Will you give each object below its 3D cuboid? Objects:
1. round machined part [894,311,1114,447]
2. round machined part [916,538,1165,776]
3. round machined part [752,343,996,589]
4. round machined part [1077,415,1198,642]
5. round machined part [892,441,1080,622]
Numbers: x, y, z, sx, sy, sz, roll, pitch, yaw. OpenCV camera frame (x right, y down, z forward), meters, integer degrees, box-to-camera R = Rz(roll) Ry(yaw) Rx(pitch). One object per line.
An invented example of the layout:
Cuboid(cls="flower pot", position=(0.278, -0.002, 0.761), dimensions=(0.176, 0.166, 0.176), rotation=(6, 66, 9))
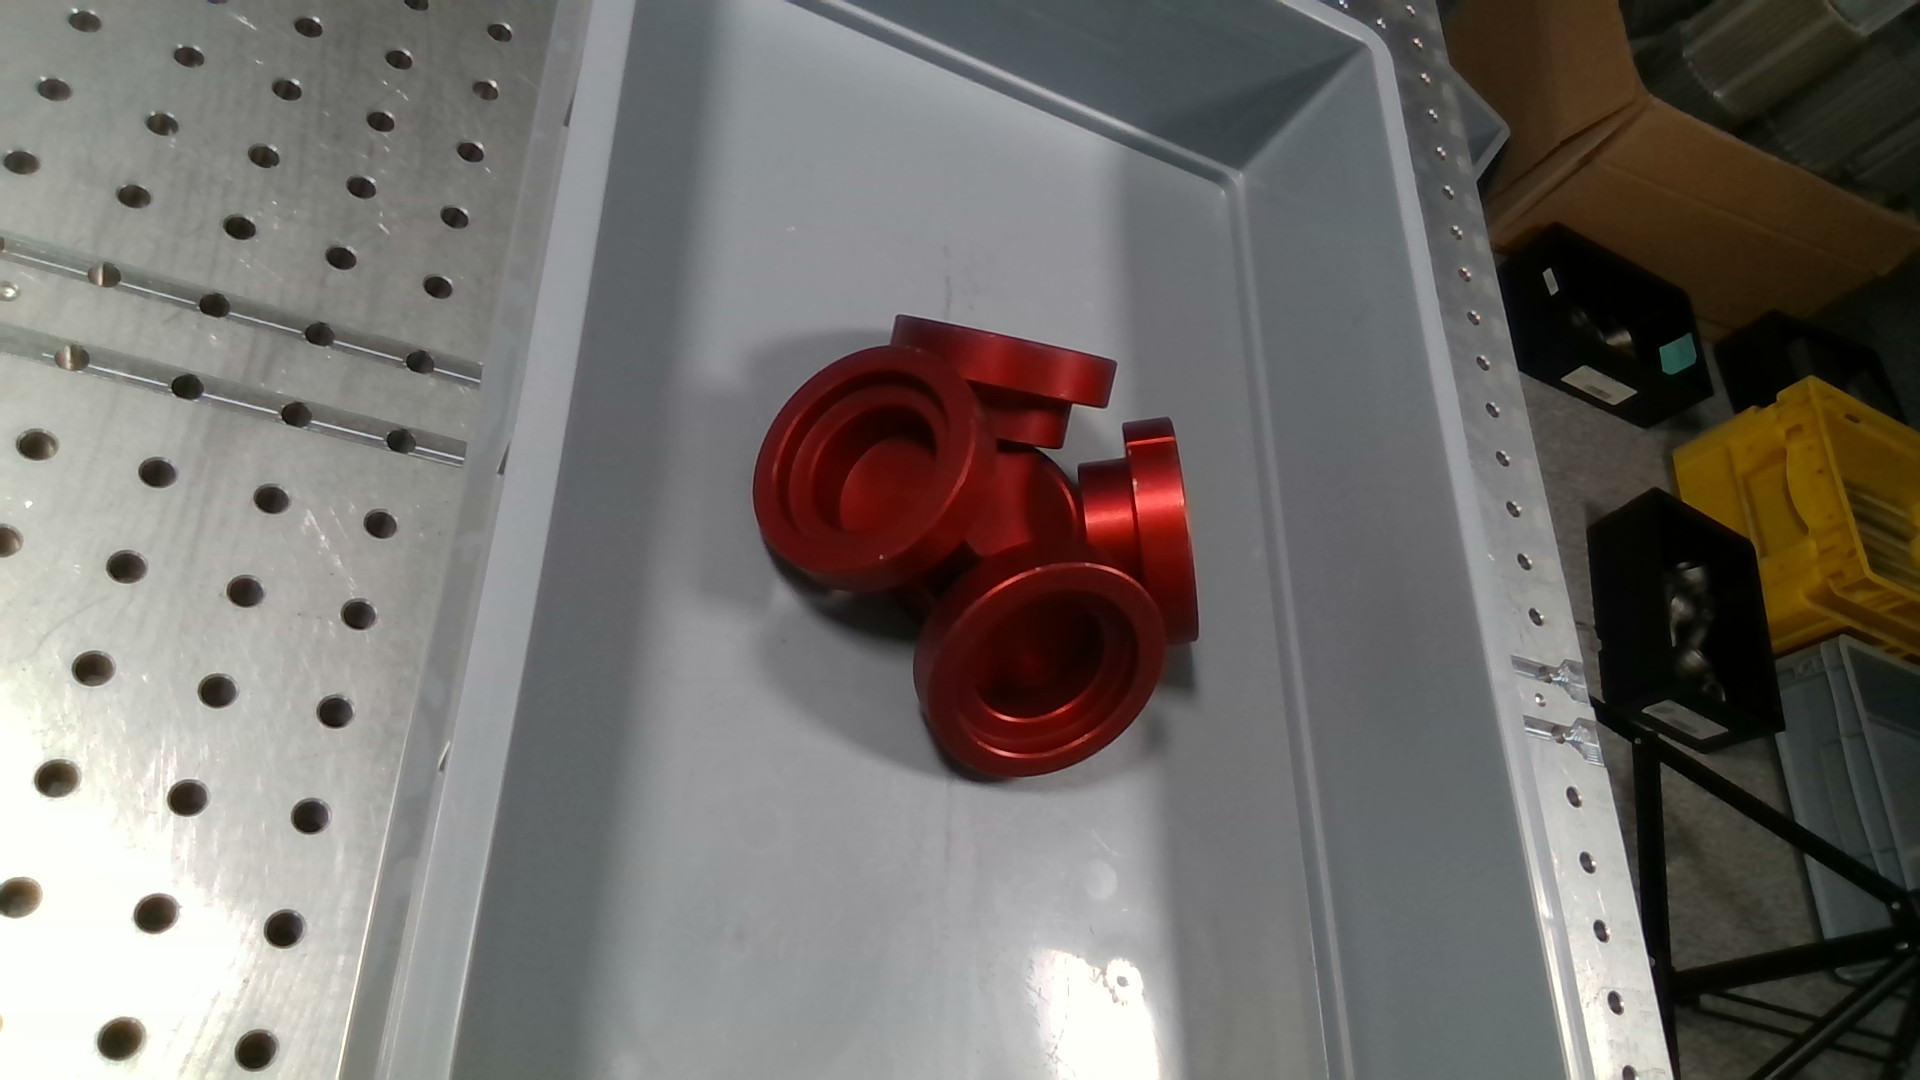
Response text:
Cuboid(cls="round machined part", position=(0.016, -0.068, 0.596), dimensions=(0.098, 0.098, 0.042), rotation=(8, 98, -28))
Cuboid(cls="round machined part", position=(0.028, 0.042, 0.545), dimensions=(0.098, 0.098, 0.042), rotation=(12, 24, -26))
Cuboid(cls="round machined part", position=(-0.030, -0.025, 0.544), dimensions=(0.042, 0.098, 0.098), rotation=(44, 39, -54))
Cuboid(cls="round machined part", position=(0.076, -0.003, 0.598), dimensions=(0.042, 0.098, 0.098), rotation=(-7, 63, 7))
Cuboid(cls="round machined part", position=(0.014, -0.005, 0.585), dimensions=(0.098, 0.042, 0.098), rotation=(14, 59, -25))
